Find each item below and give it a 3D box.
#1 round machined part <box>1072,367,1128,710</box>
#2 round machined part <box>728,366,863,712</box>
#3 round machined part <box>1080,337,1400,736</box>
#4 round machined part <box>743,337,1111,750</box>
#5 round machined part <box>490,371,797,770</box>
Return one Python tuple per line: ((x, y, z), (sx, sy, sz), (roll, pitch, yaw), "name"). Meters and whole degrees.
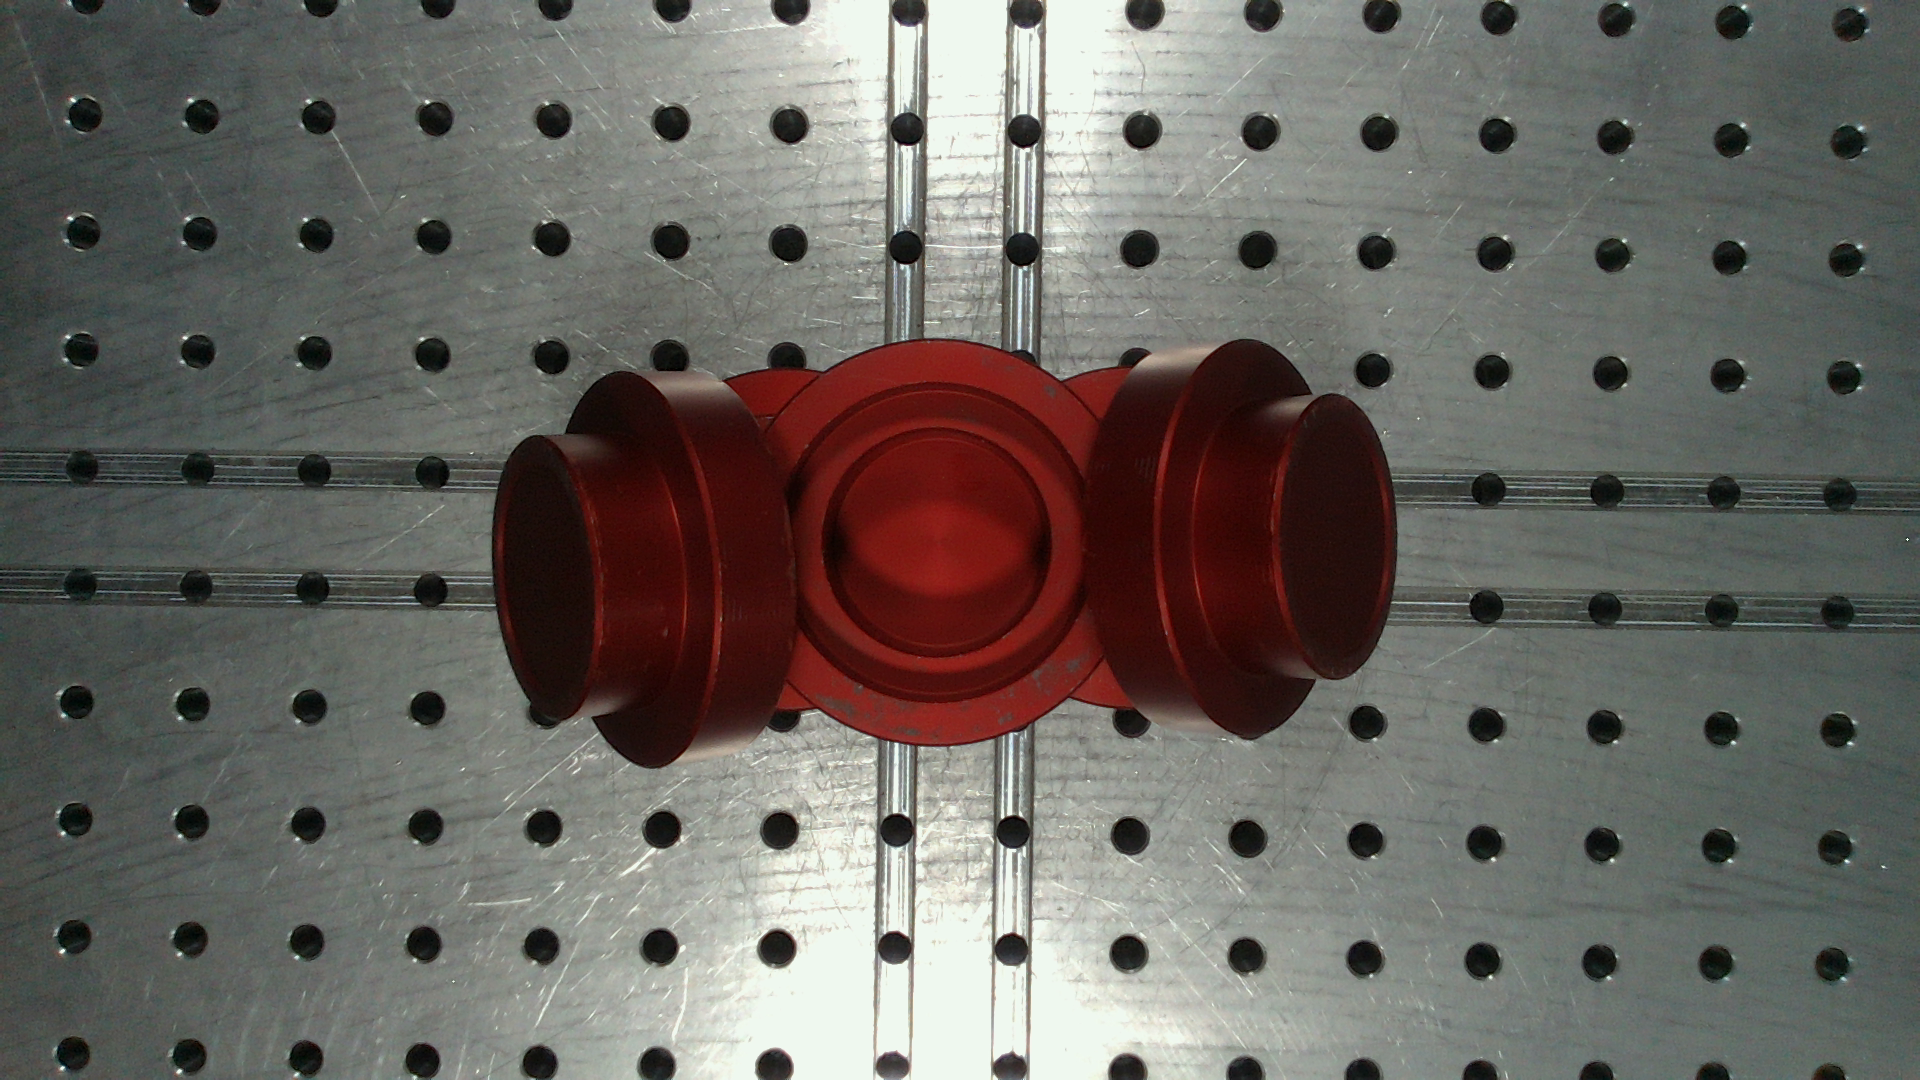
((0.049, 0.000, 0.389), (0.098, 0.042, 0.098), (0, 90, 0), "round machined part")
((-0.049, 0.000, 0.389), (0.098, 0.042, 0.098), (0, 90, 0), "round machined part")
((0.075, -0.001, 0.338), (0.042, 0.098, 0.098), (0, 90, 40), "round machined part")
((-0.005, 0.001, 0.346), (0.098, 0.042, 0.098), (0, 90, 0), "round machined part")
((-0.083, 0.008, 0.338), (0.042, 0.098, 0.098), (-6, 90, -37), "round machined part")
